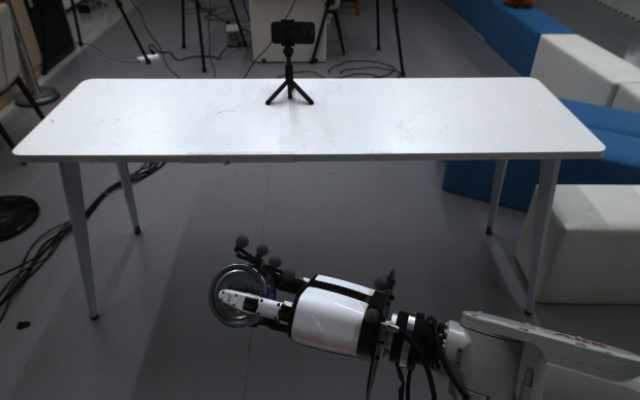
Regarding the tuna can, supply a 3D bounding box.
[{"bbox_3d":[-0.102,0.126,0.645,0.085,0.085,0.034,13,-4,15],"label":"tuna can"}]
